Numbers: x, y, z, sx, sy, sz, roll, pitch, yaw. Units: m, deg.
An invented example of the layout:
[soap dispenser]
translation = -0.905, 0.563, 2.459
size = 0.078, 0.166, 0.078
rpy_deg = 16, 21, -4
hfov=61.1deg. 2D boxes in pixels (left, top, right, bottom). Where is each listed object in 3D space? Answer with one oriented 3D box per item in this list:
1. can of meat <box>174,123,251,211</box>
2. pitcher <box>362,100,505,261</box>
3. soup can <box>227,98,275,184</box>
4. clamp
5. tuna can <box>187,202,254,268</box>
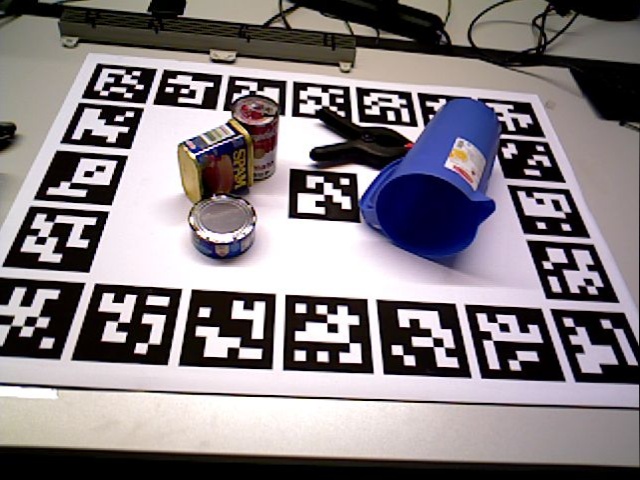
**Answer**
[can of meat]
translation = -0.143, -0.093, 0.723
size = 0.082, 0.104, 0.057
rpy_deg = -28, 61, -23
[pitcher]
translation = 0.171, -0.094, 0.745
size = 0.190, 0.135, 0.237
rpy_deg = 5, 39, 25
[soup can]
translation = -0.098, -0.139, 0.773
size = 0.067, 0.104, 0.067
rpy_deg = 2, 52, -4
[clamp]
translation = 0.051, -0.146, 0.853
size = 0.164, 0.037, 0.119
rpy_deg = 7, 46, -6
[tuna can]
translation = -0.128, -0.006, 0.703
size = 0.085, 0.034, 0.084
rpy_deg = 3, 52, -5
